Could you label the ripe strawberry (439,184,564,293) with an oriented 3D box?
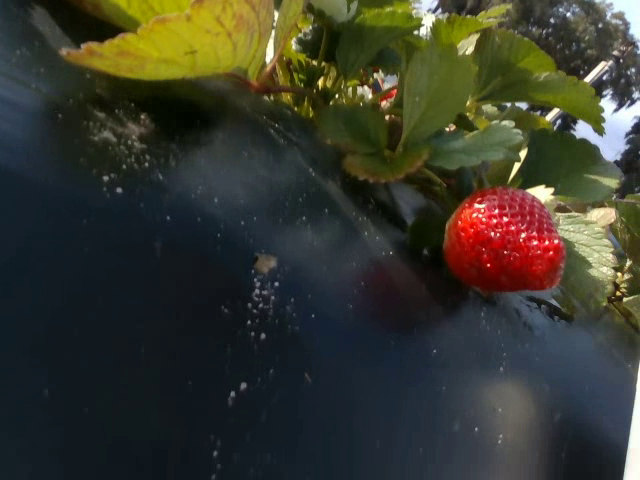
[{"bbox_3d":[0.060,0.001,0.165,0.041,0.041,0.047,-1,19,-21],"label":"ripe strawberry"}]
